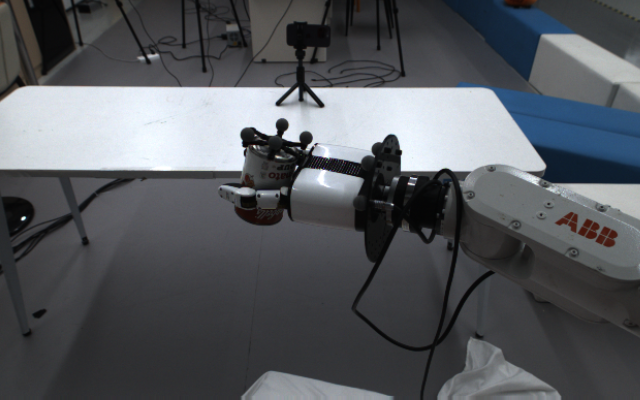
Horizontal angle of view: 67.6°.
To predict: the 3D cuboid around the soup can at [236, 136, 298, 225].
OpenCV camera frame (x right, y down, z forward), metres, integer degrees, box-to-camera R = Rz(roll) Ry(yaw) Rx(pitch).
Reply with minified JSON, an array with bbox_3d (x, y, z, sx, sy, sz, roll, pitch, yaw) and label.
[{"bbox_3d":[-0.071,-0.025,0.640,0.067,0.101,0.067,13,31,-8],"label":"soup can"}]
